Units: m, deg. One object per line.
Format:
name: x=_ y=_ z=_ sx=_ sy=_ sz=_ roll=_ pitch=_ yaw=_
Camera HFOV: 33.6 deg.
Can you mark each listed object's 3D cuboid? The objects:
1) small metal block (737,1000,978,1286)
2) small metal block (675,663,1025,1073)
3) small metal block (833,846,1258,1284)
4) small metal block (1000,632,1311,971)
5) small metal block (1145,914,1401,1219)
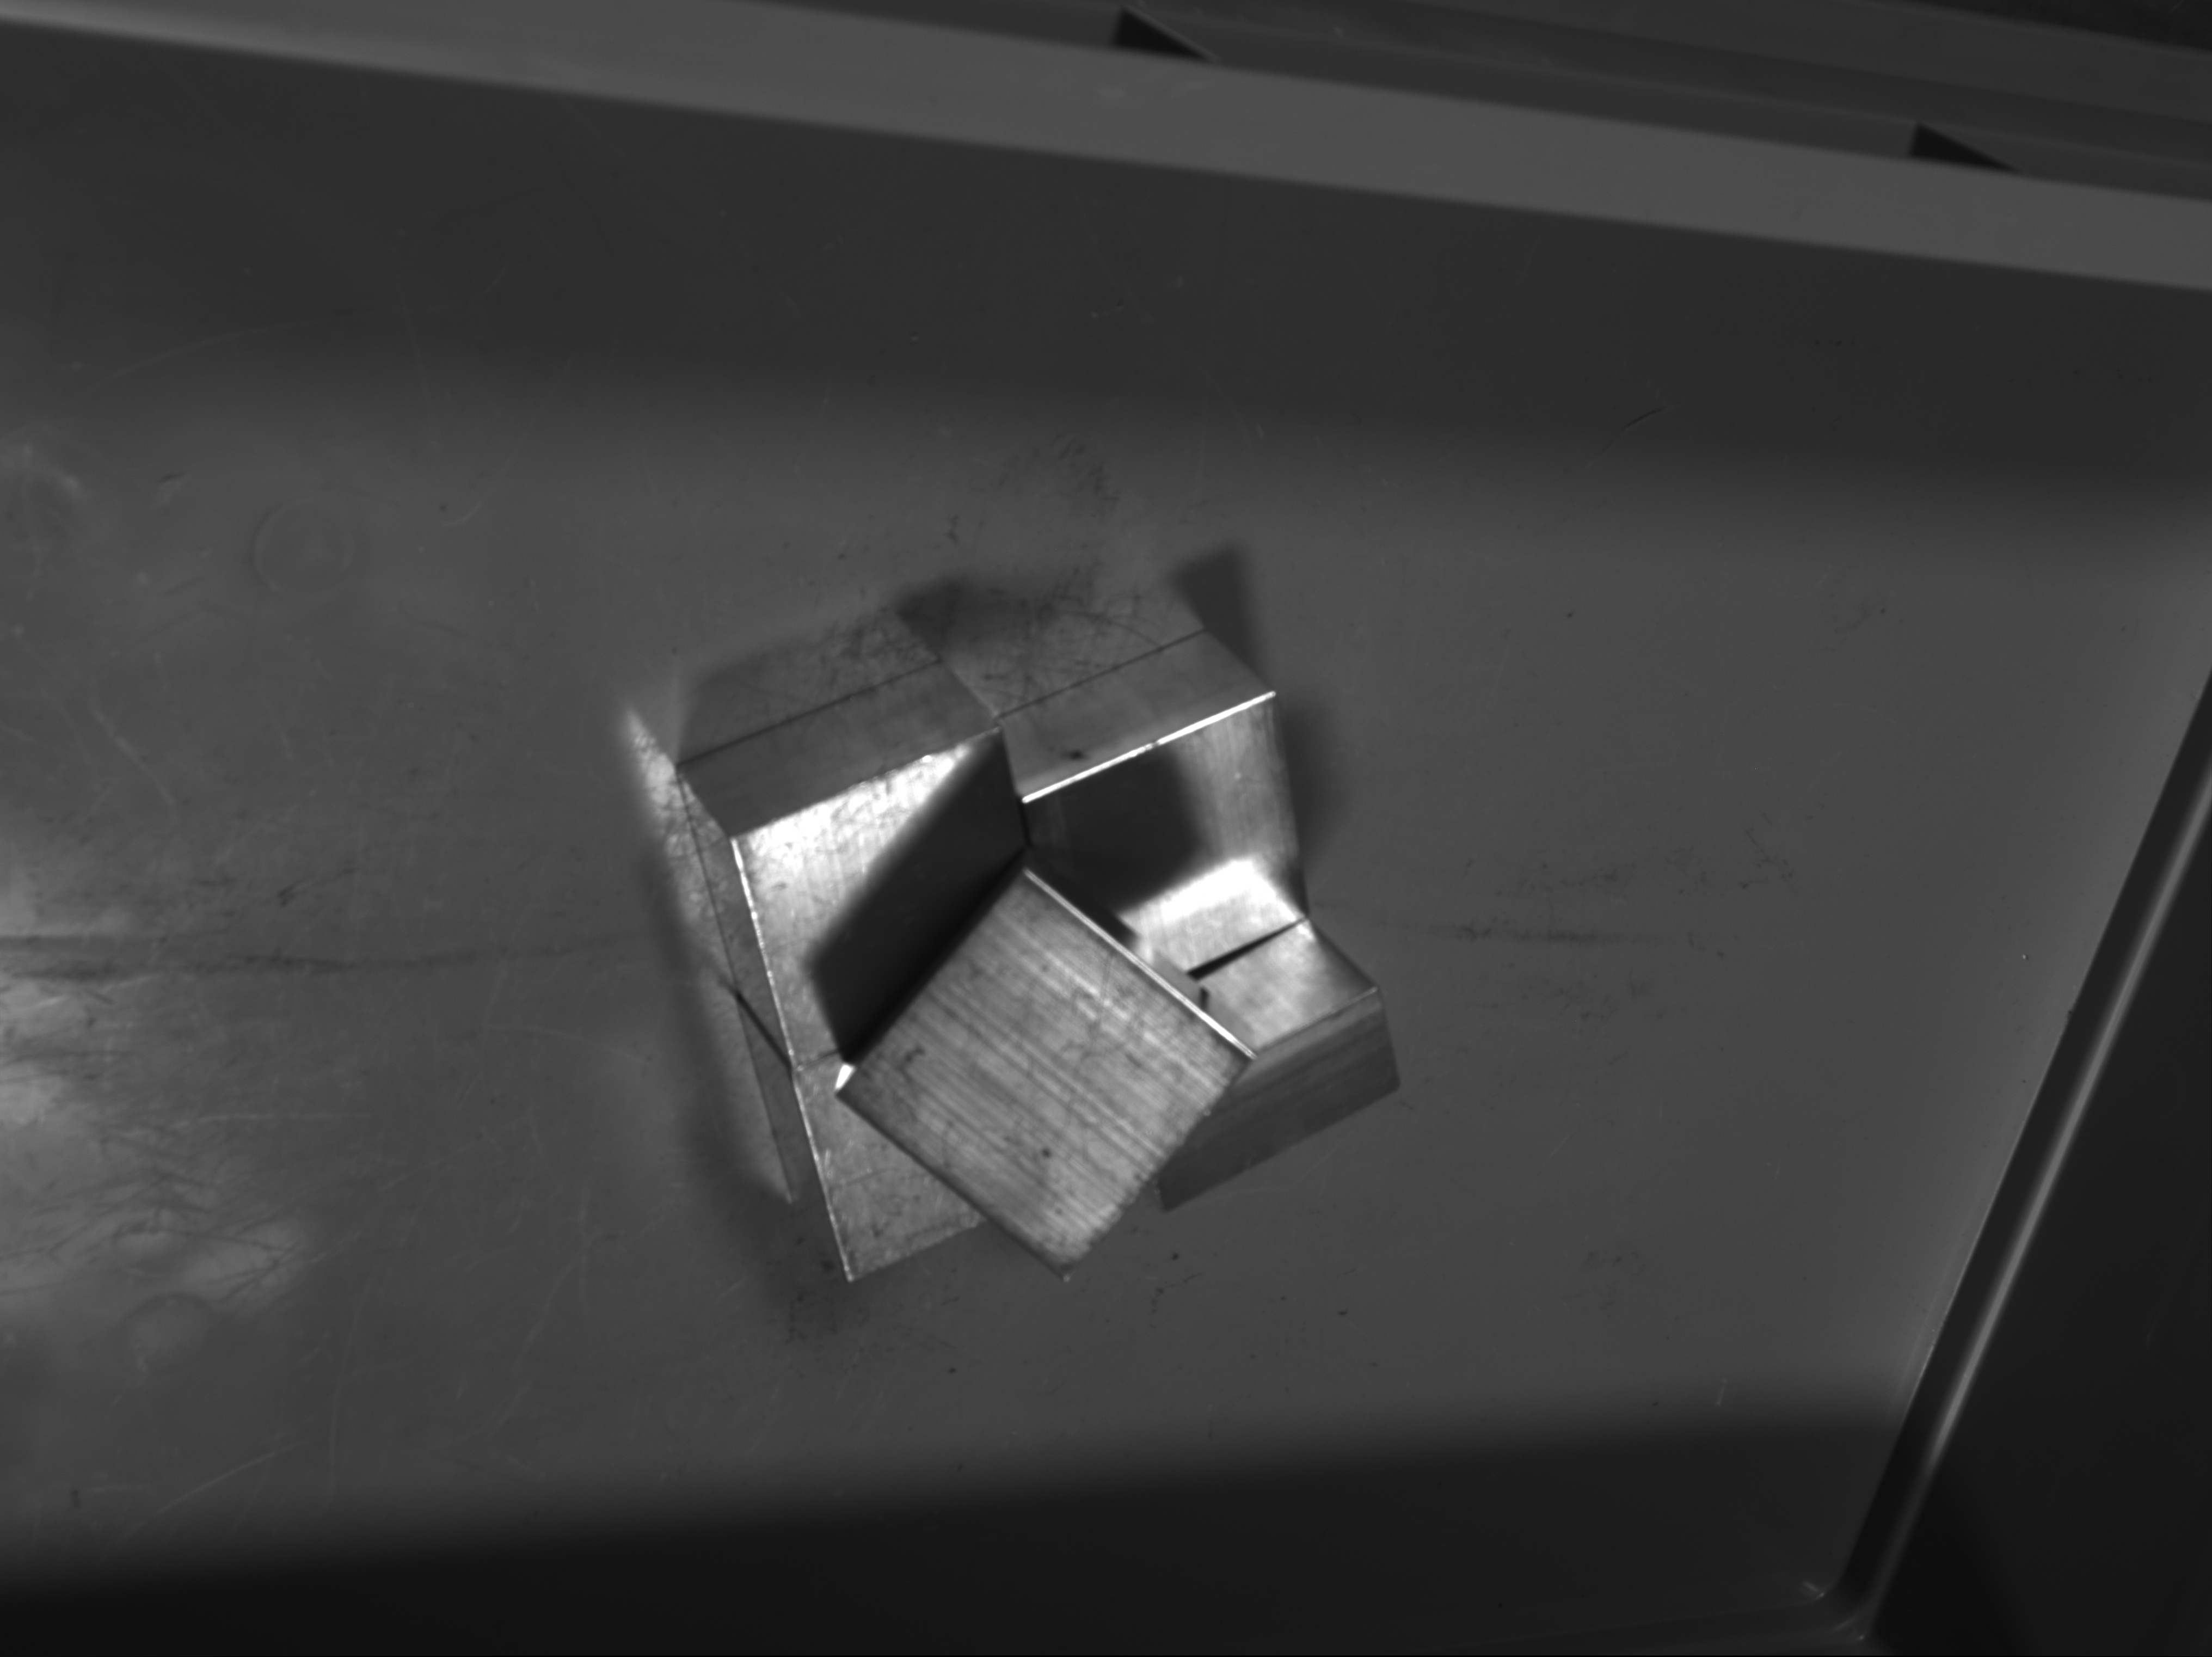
small metal block: x=-0.034 y=0.047 z=0.659 sx=0.050 sy=0.025 sz=0.050 roll=-23 pitch=127 yaw=-17
small metal block: x=-0.041 y=0.007 z=0.629 sx=0.050 sy=0.025 sz=0.050 roll=-23 pitch=127 yaw=-17
small metal block: x=-0.010 y=0.039 z=0.619 sx=0.050 sy=0.025 sz=0.050 roll=39 pitch=96 yaw=-6
small metal block: x=0.006 y=0.000 z=0.653 sx=0.050 sy=0.025 sz=0.050 roll=-23 pitch=127 yaw=-17
small metal block: x=0.018 y=0.037 z=0.666 sx=0.050 sy=0.050 sz=0.025 roll=-26 pitch=128 yaw=-15
